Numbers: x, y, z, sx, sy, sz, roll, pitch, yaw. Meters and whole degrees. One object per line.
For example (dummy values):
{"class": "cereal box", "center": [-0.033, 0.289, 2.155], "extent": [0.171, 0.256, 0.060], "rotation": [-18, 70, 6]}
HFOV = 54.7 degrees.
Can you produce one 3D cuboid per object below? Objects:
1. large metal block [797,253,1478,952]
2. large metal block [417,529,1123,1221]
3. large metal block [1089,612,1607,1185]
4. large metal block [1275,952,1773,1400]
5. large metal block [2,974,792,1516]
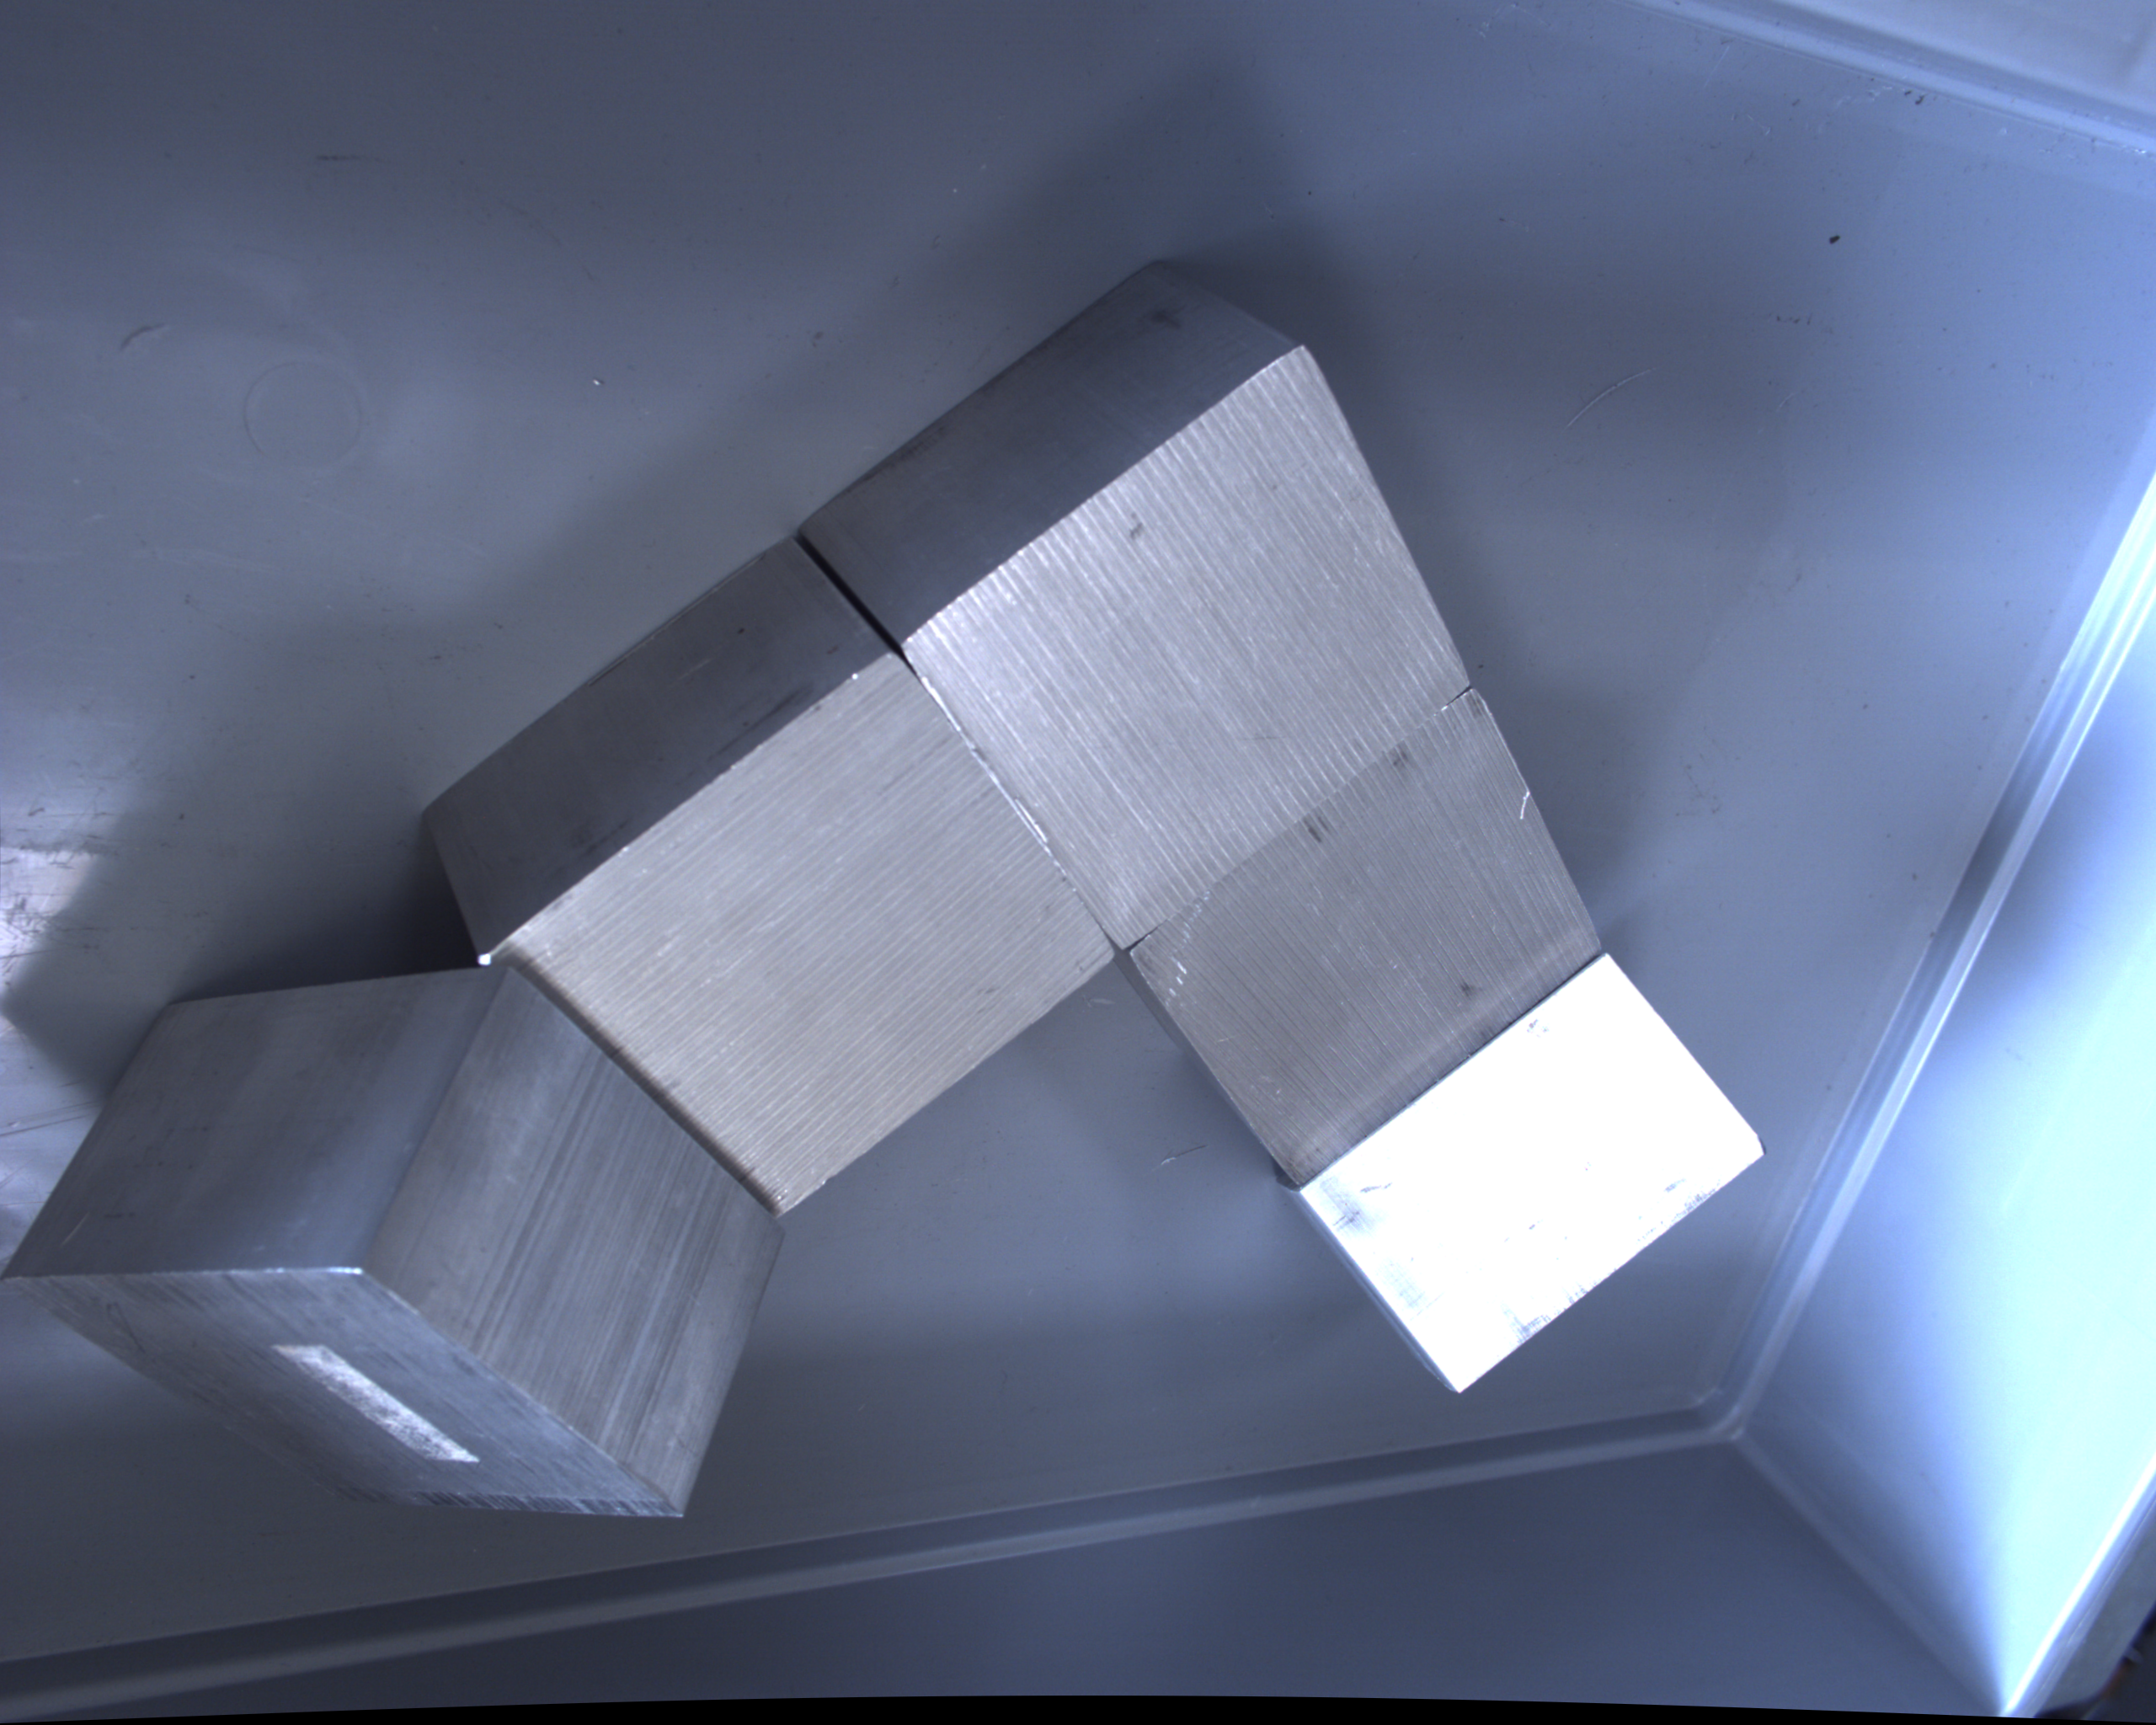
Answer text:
{"class": "large metal block", "center": [0.012, -0.045, 0.368], "extent": [0.080, 0.050, 0.080], "rotation": [-38, 129, -3]}
{"class": "large metal block", "center": [-0.052, 0.004, 0.364], "extent": [0.080, 0.050, 0.080], "rotation": [-38, 129, -3]}
{"class": "large metal block", "center": [0.048, 0.005, 0.419], "extent": [0.080, 0.050, 0.080], "rotation": [-38, 129, -3]}
{"class": "large metal block", "center": [0.092, 0.067, 0.454], "extent": [0.080, 0.050, 0.080], "rotation": [-38, 173, -3]}
{"class": "large metal block", "center": [-0.109, 0.066, 0.343], "extent": [0.080, 0.050, 0.080], "rotation": [-8, 137, 29]}
